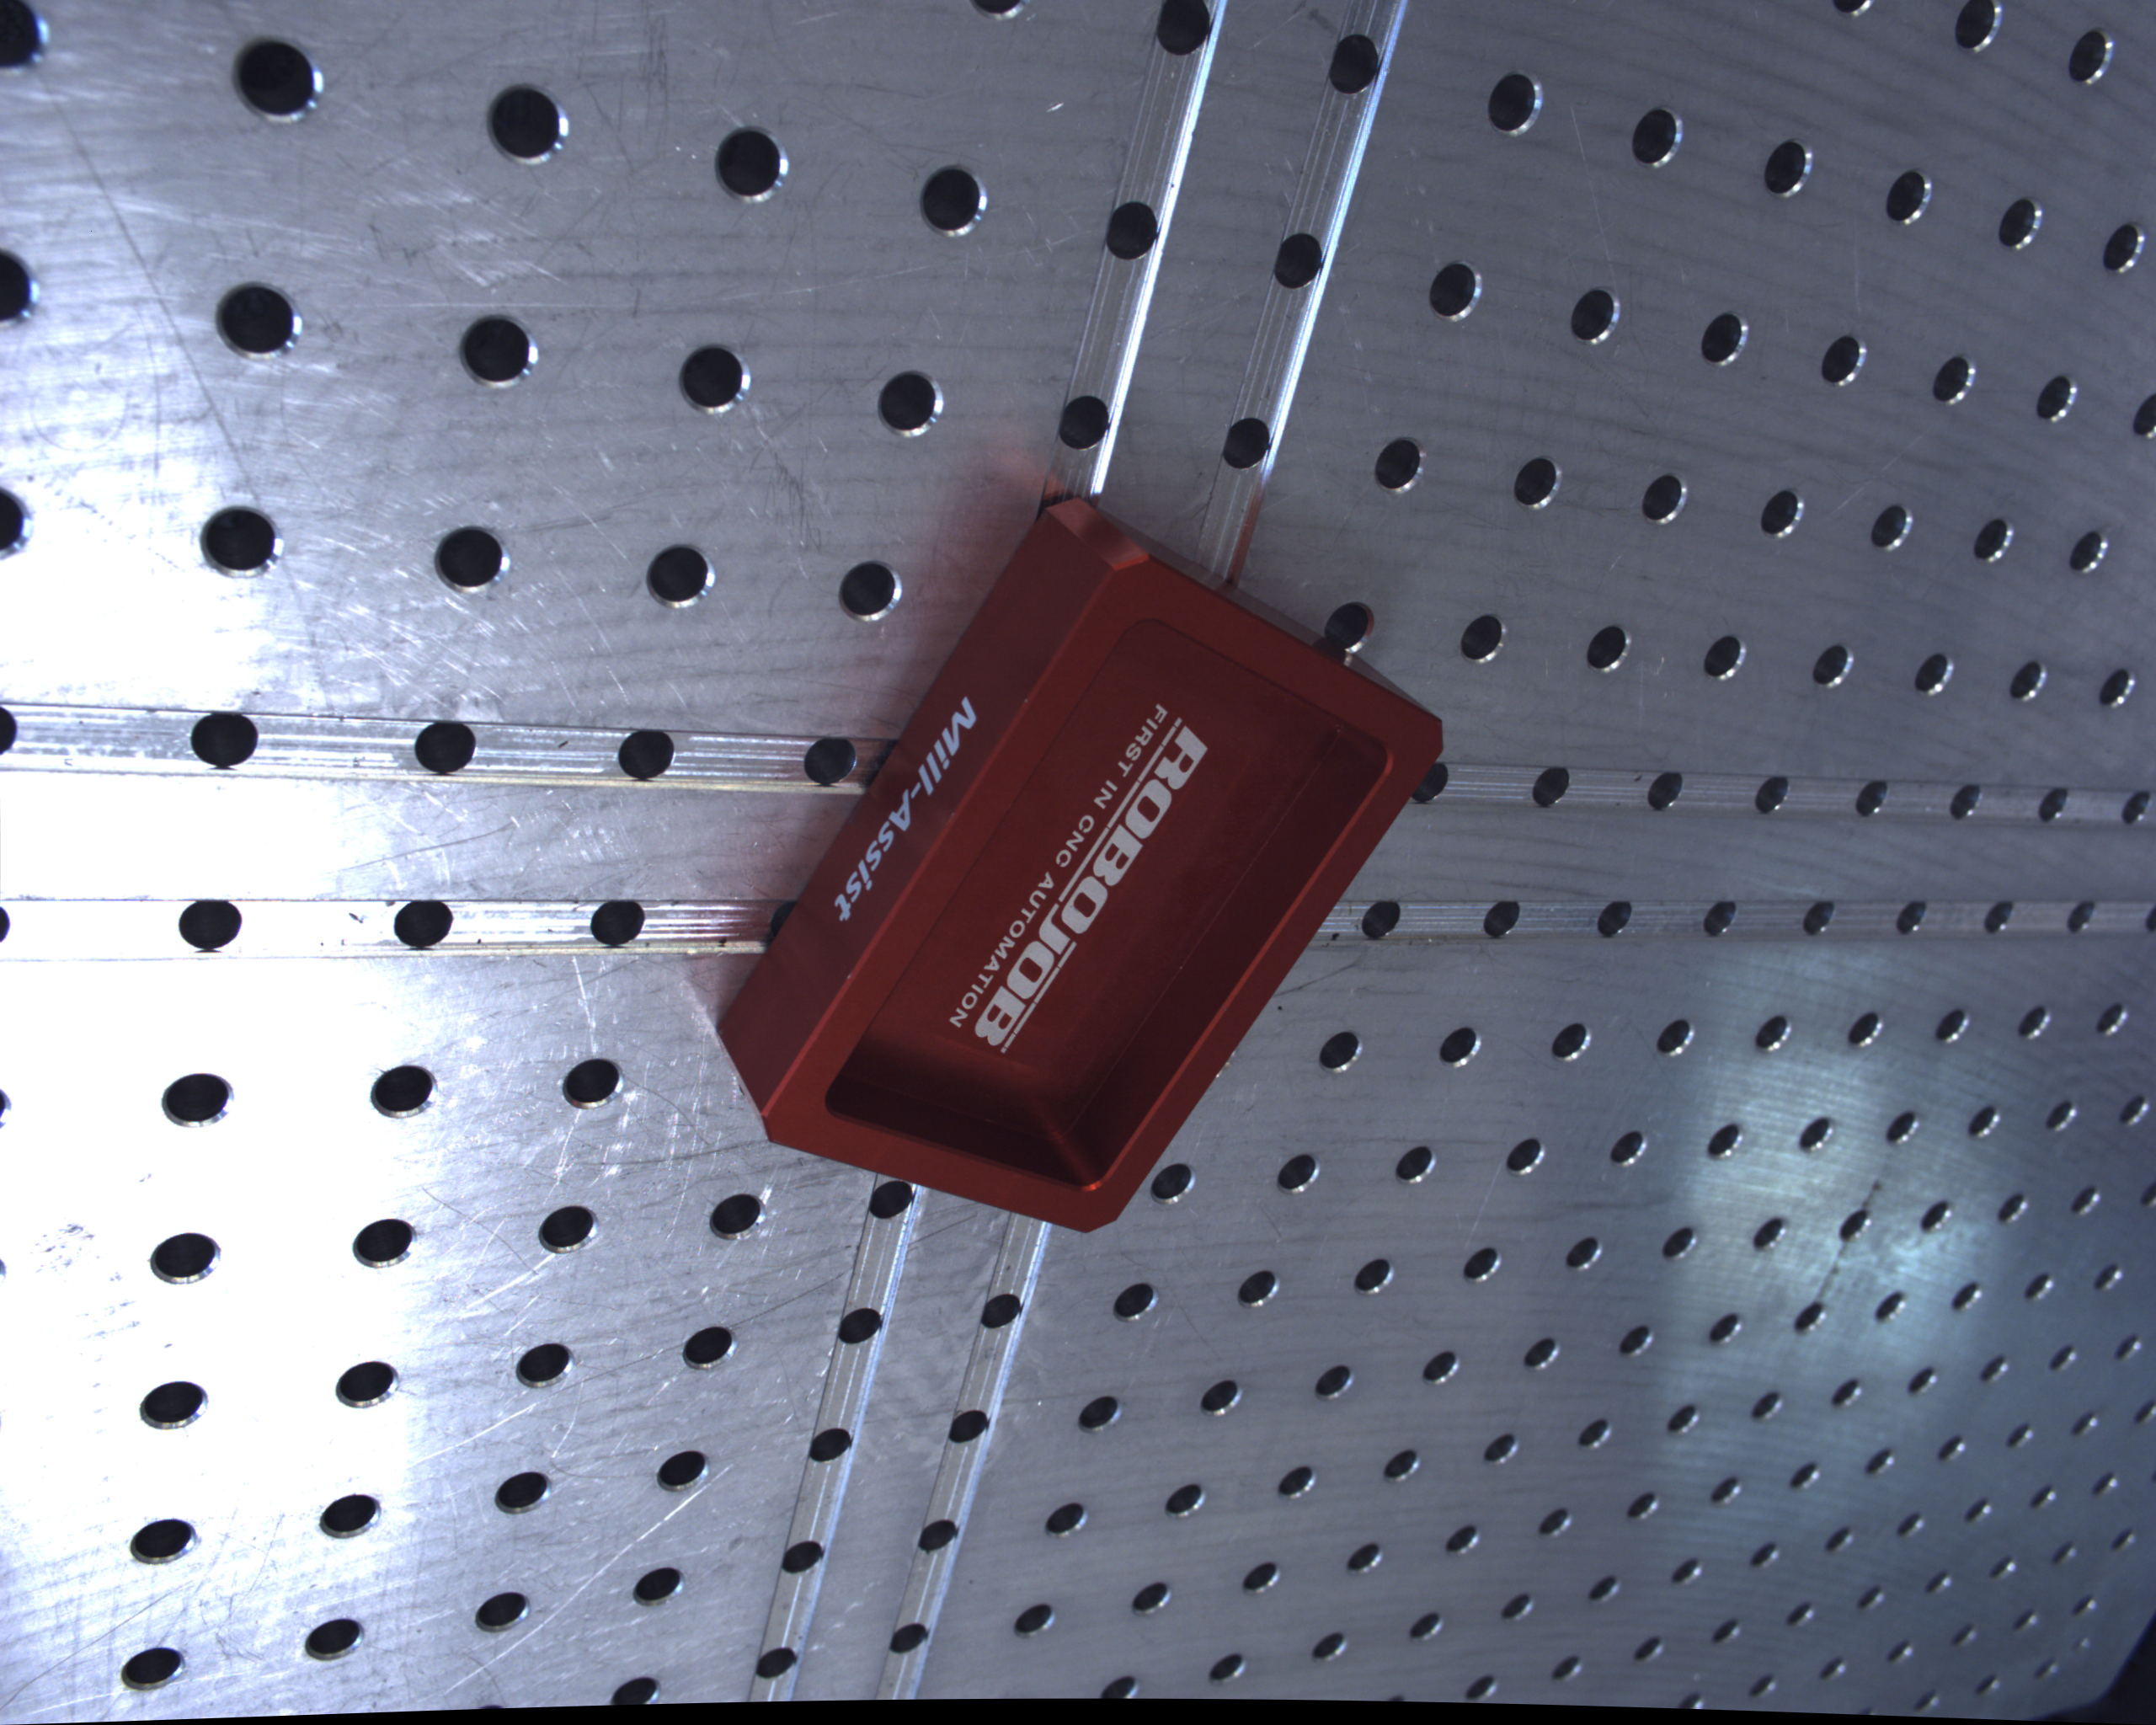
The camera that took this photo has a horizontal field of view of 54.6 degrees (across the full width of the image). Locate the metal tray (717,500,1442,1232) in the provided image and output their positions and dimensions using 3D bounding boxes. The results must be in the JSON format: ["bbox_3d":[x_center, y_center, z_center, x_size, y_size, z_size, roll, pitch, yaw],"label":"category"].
[{"bbox_3d":[0.001,0.005,0.411,0.090,0.030,0.129,24,106,-37],"label":"metal tray"}]
